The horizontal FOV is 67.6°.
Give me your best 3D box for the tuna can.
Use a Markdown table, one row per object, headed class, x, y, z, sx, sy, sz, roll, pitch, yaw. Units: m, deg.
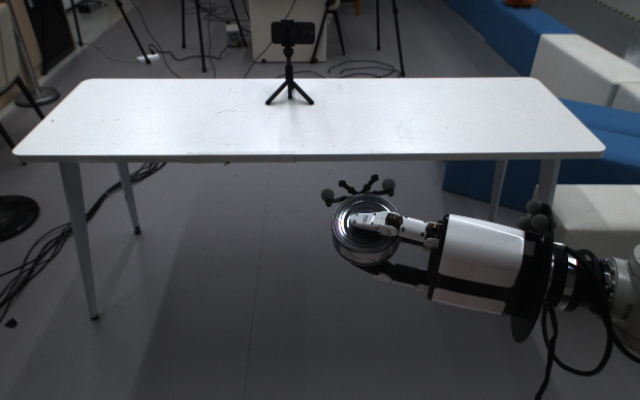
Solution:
| class | x | y | z | sx | sy | sz | roll | pitch | yaw |
| --- | --- | --- | --- | --- | --- | --- | --- | --- | --- |
| tuna can | 0.060 | 0.034 | 0.595 | 0.085 | 0.034 | 0.085 | -3 | 60 | 5 |
